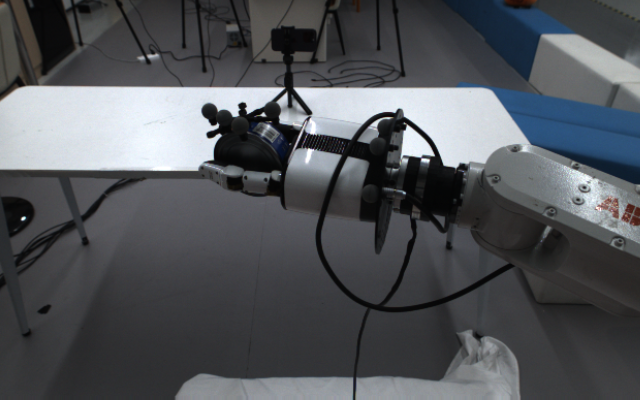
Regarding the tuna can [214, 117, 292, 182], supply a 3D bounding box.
[{"bbox_3d":[-0.073,-0.049,0.552,0.085,0.085,0.034,14,40,16],"label":"tuna can"}]
